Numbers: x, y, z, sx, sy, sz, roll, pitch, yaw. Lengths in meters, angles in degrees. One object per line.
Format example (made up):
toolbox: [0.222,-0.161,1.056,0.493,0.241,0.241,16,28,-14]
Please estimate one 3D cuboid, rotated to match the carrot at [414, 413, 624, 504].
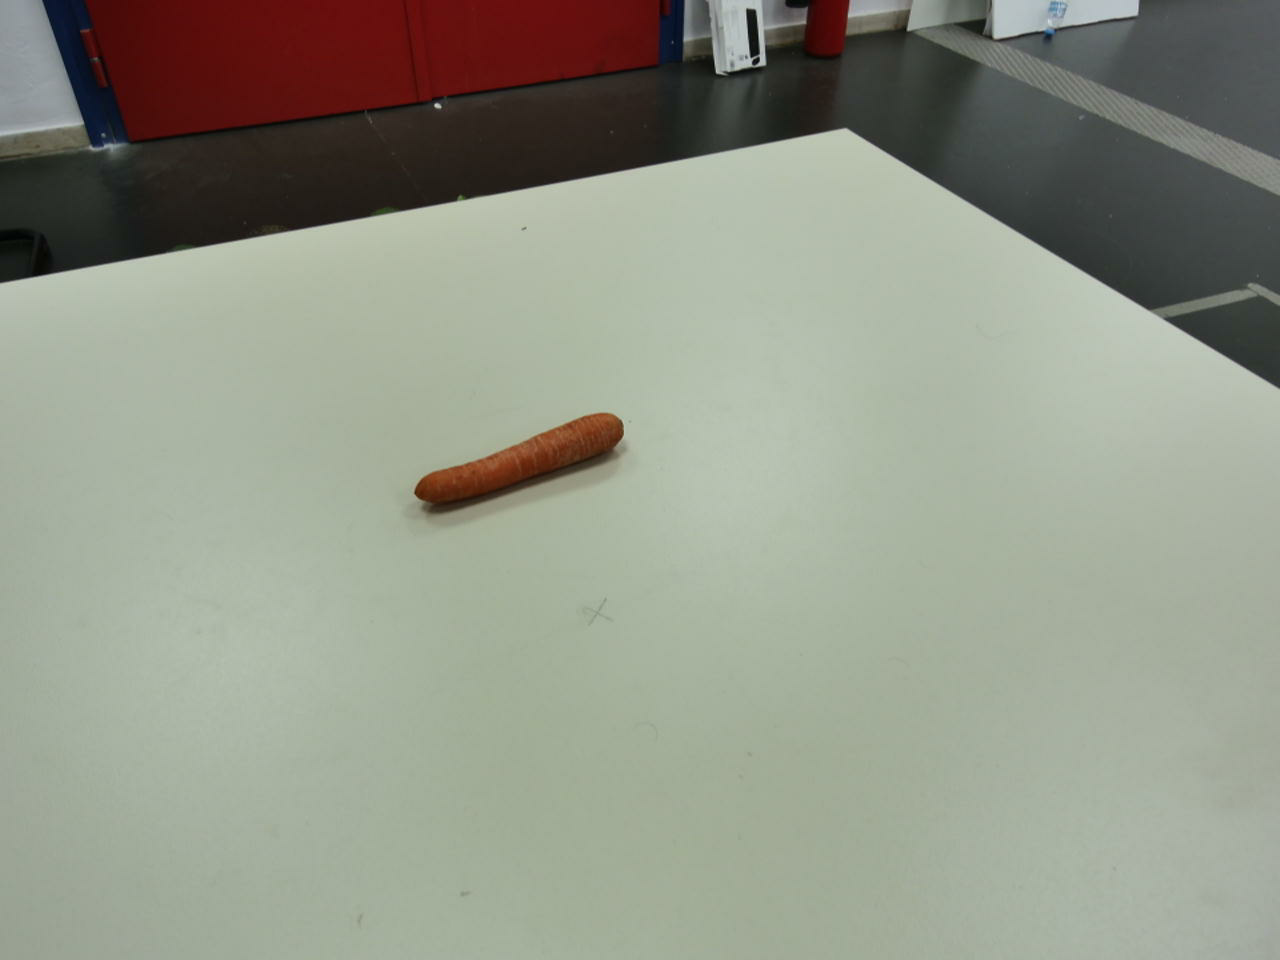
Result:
carrot: [-0.063,-0.012,0.543,0.122,0.023,0.024,-18,42,-22]
